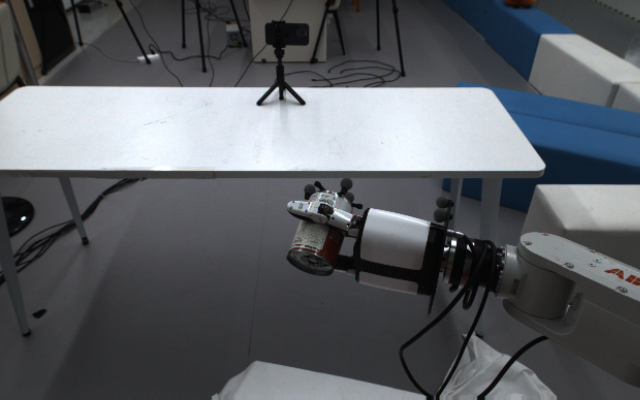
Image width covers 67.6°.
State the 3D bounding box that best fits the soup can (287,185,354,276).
[{"bbox_3d":[0.001,0.044,0.676,0.067,0.067,0.101,12,59,14],"label":"soup can"}]
